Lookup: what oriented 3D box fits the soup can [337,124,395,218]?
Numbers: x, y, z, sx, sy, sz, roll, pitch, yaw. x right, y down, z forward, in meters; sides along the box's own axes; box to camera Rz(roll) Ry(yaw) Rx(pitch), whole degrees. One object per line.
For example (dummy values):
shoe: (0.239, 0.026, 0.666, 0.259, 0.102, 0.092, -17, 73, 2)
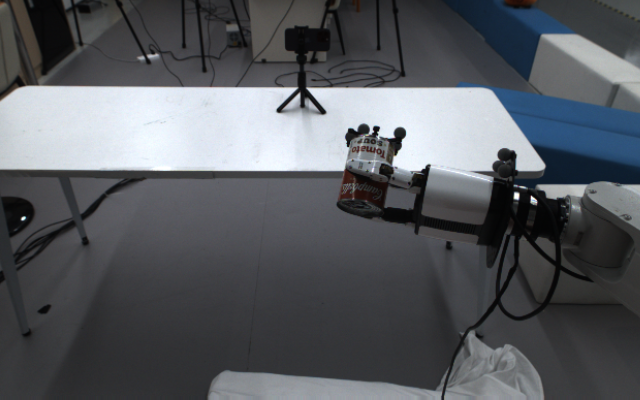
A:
soup can: (0.067, -0.036, 0.691, 0.067, 0.067, 0.101, 9, 72, 10)
